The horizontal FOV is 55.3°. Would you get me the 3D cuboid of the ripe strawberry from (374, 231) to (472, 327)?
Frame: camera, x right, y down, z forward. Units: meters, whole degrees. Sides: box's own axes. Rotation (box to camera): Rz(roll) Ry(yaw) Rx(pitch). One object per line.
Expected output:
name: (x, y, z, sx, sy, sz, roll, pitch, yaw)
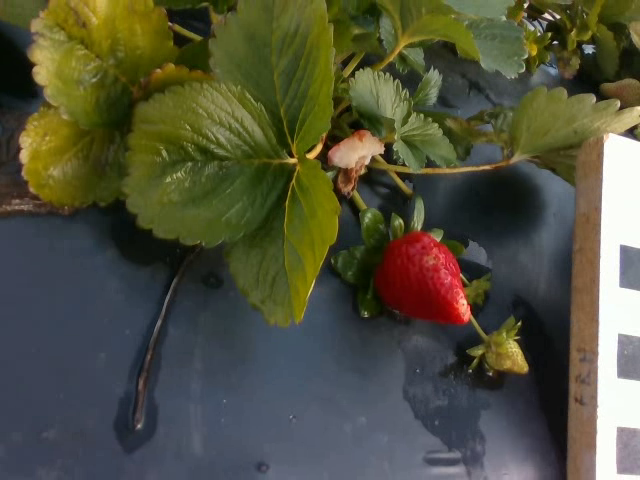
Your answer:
ripe strawberry: (0.057, 0.023, 0.295, 0.043, 0.052, 0.057, -17, 27, -17)
